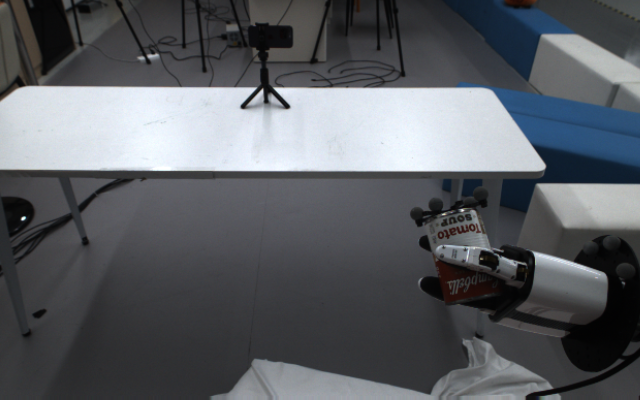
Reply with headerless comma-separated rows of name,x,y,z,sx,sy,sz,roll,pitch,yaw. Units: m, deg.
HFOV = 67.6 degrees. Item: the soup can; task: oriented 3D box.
soup can,0.170,0.066,0.569,0.067,0.067,0.101,-8,74,-14
